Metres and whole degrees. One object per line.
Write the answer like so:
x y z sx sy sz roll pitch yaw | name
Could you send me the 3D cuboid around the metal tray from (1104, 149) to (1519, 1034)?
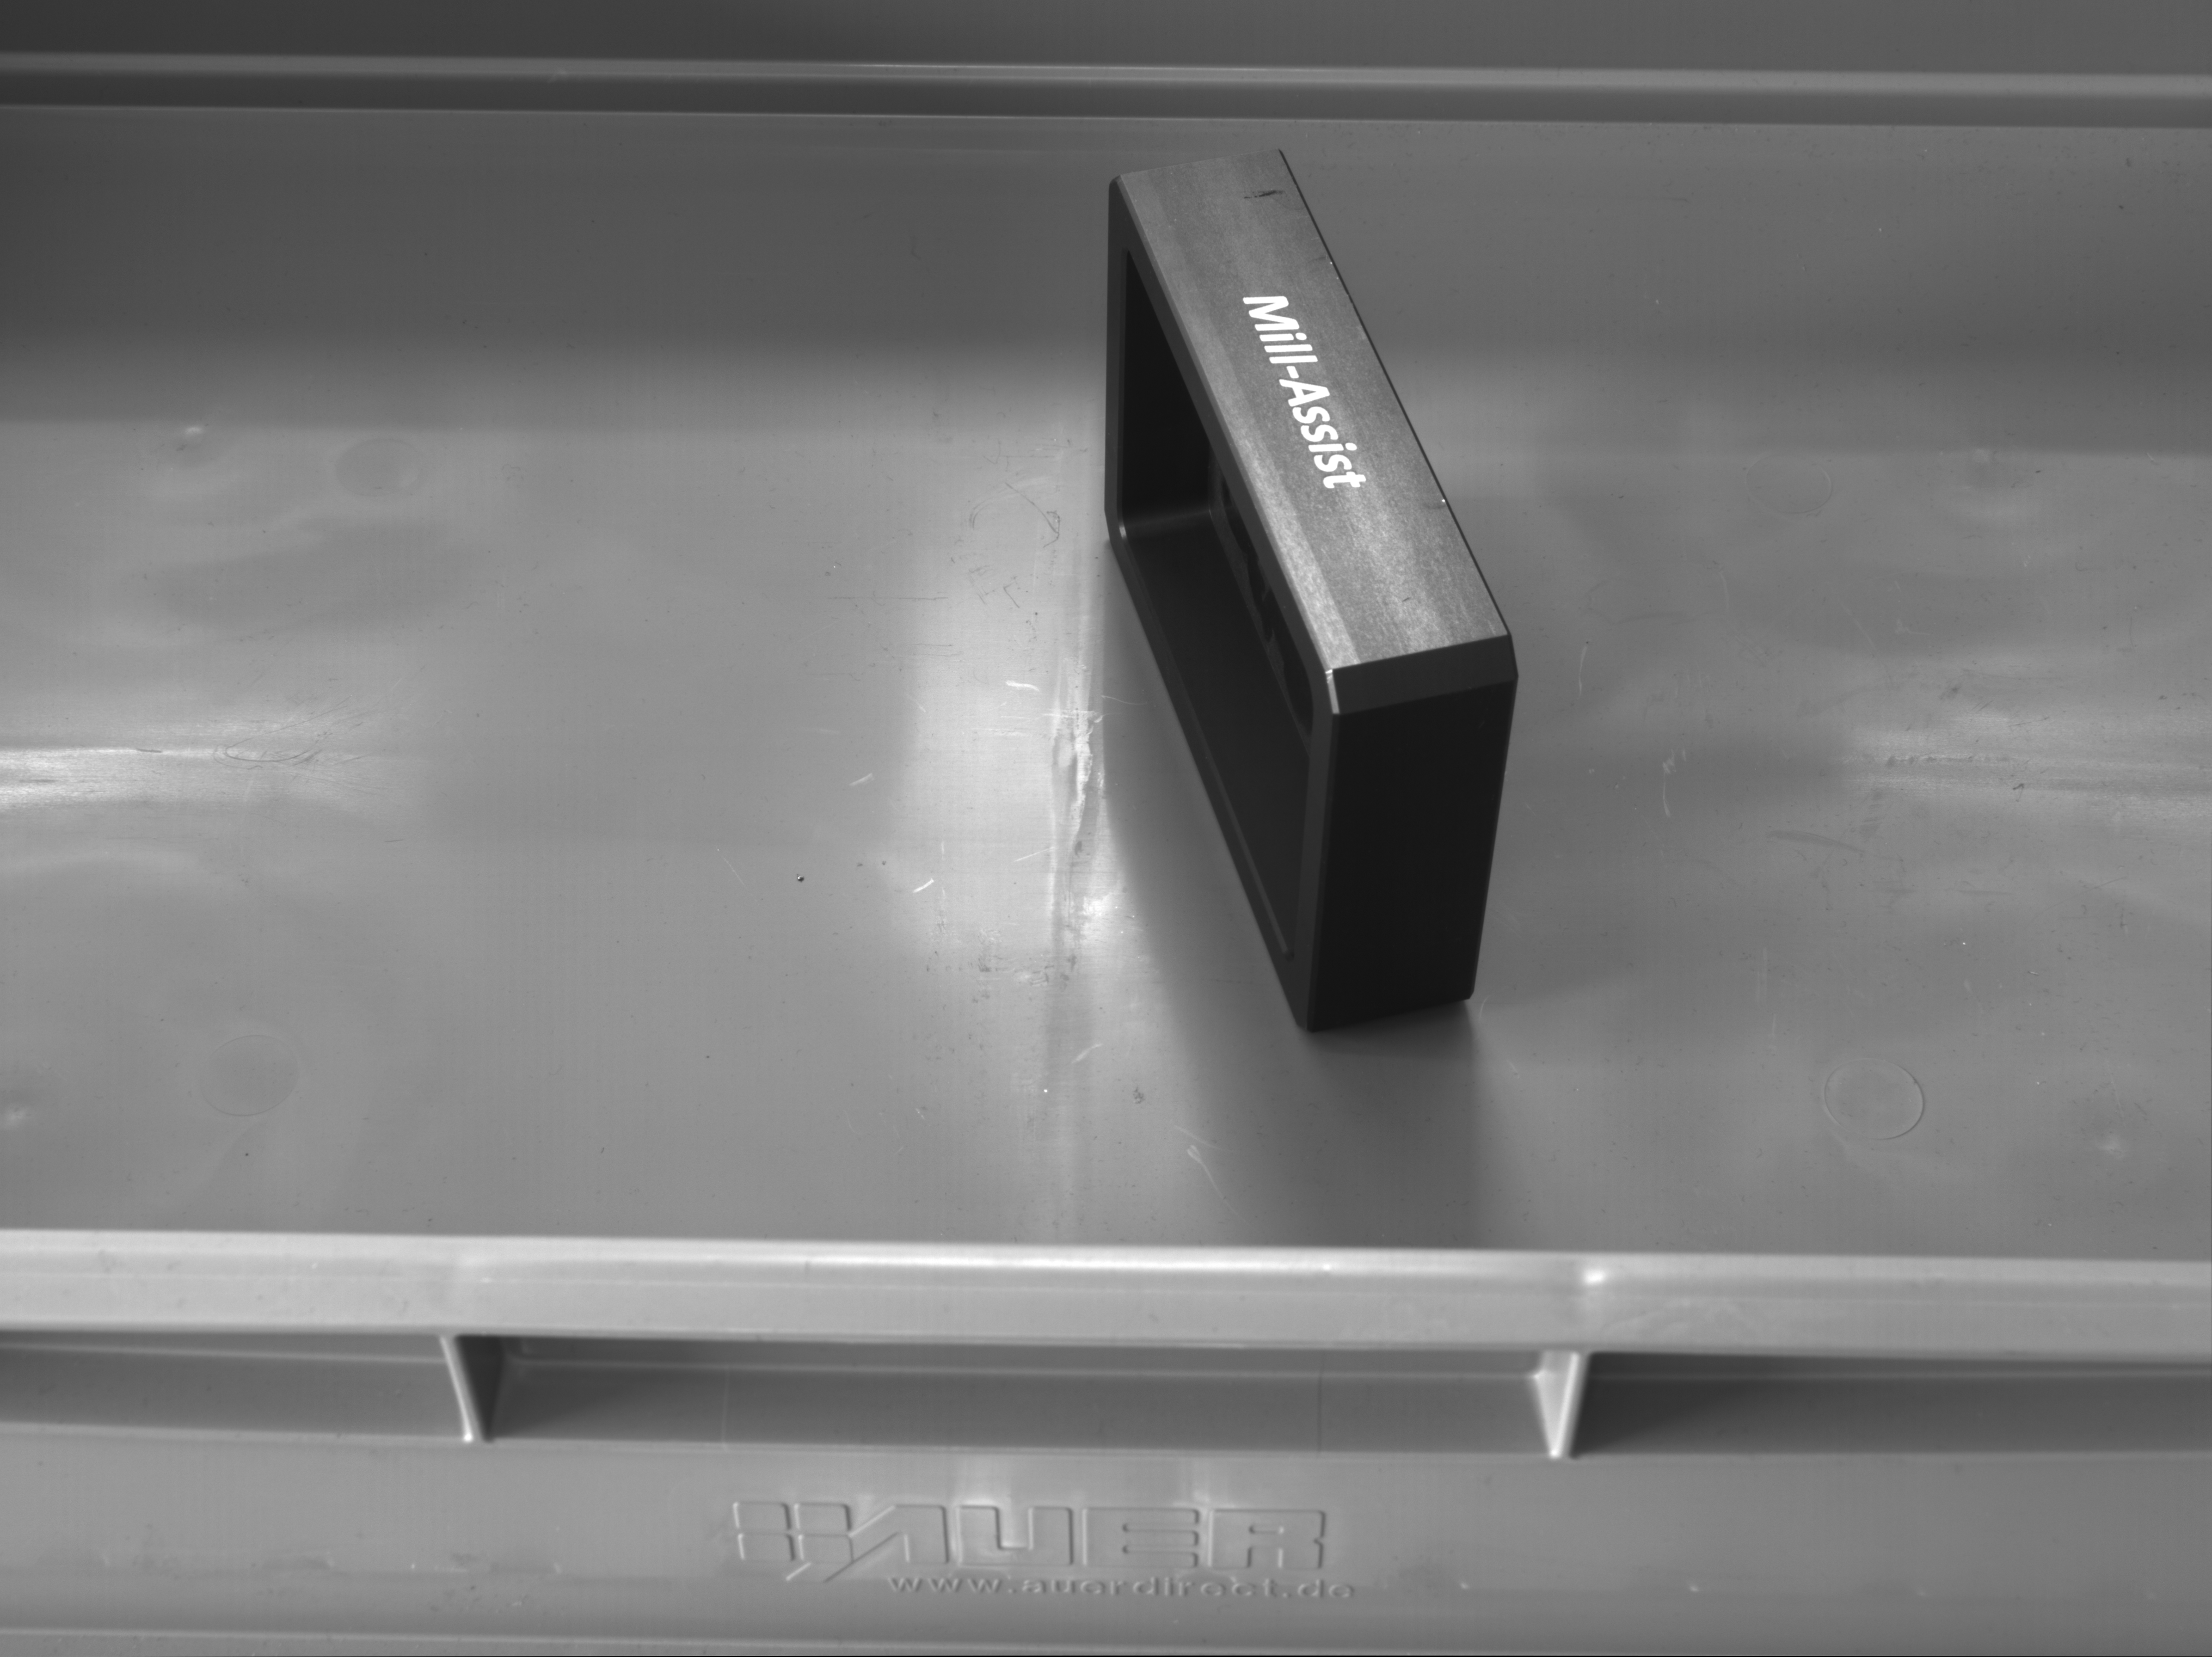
0.032 -0.042 0.632 0.030 0.090 0.130 -12 51 -10 | metal tray
